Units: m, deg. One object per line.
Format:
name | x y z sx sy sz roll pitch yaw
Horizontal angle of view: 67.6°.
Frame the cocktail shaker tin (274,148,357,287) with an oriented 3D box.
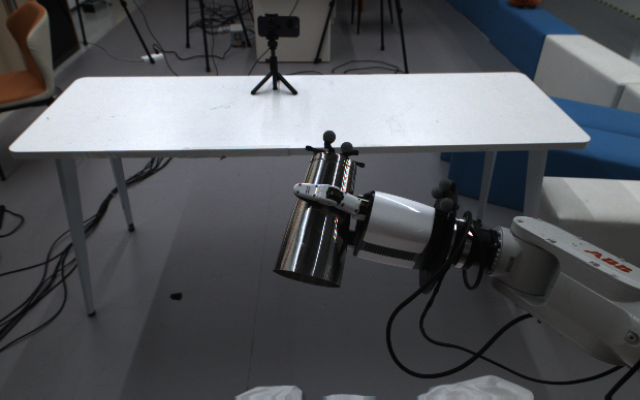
cocktail shaker tin | 0.000 0.026 0.660 0.093 0.093 0.170 11 74 12
